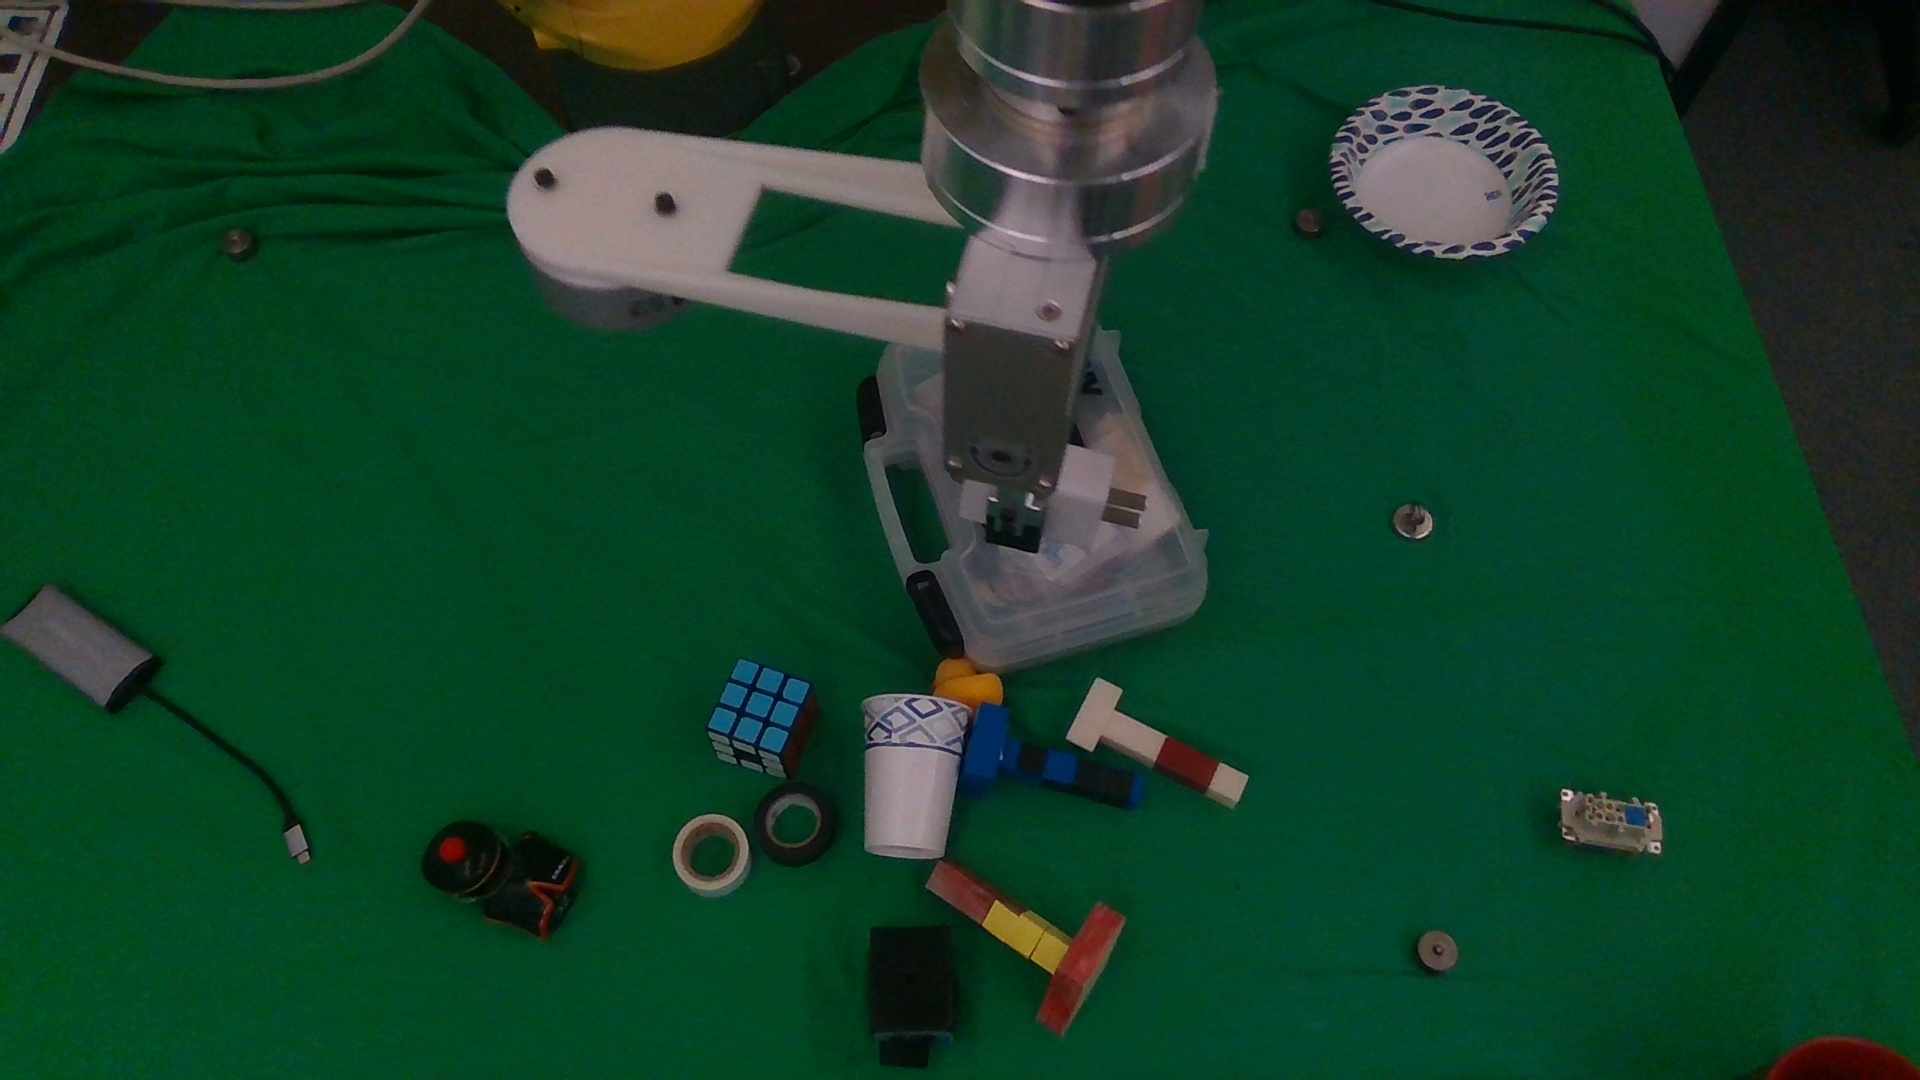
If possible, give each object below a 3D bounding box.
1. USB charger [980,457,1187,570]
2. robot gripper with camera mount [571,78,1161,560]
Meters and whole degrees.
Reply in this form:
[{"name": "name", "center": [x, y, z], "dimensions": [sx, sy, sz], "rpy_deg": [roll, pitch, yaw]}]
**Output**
[{"name": "USB charger", "center": [0.047, -0.012, 0.524], "dimensions": [0.075, 0.044, 0.029], "rpy_deg": [15, 60, 5]}, {"name": "robot gripper with camera mount", "center": [-0.041, -0.068, 0.487], "dimensions": [0.194, 0.158, 0.119], "rpy_deg": [13, 60, 14]}]
